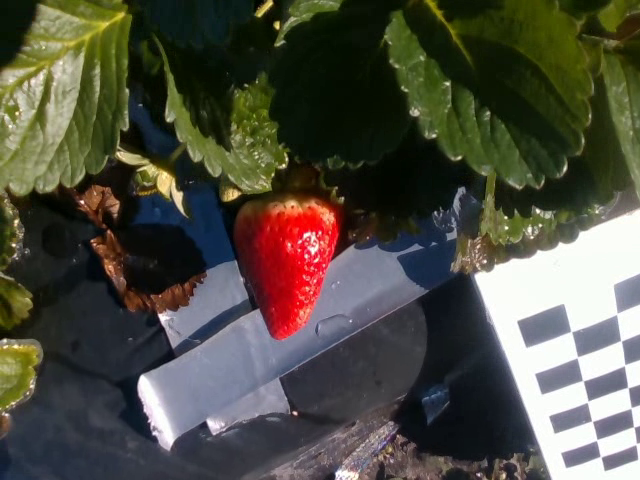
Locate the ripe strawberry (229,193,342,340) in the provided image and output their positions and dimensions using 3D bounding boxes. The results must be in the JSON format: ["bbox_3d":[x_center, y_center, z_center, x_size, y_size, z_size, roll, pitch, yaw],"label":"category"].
[{"bbox_3d":[-0.011,0.016,0.286,0.061,0.065,0.057,0,-4,-14],"label":"ripe strawberry"}]
